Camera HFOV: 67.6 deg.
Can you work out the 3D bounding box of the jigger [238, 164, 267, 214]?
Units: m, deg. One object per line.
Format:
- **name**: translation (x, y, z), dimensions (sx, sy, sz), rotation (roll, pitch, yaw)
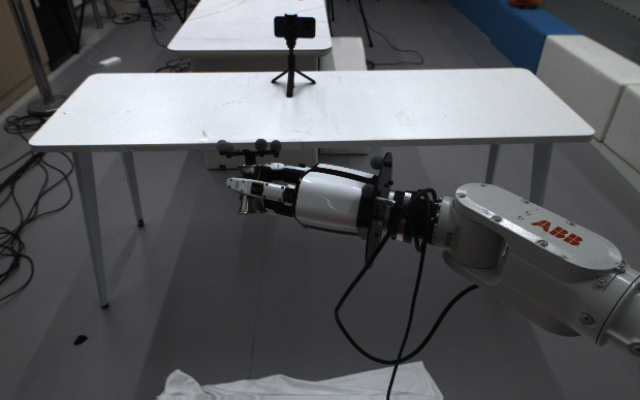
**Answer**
- **jigger**: translation (-0.098, -0.015, 0.689), dimensions (0.043, 0.071, 0.043), rotation (-2, 3, 0)
